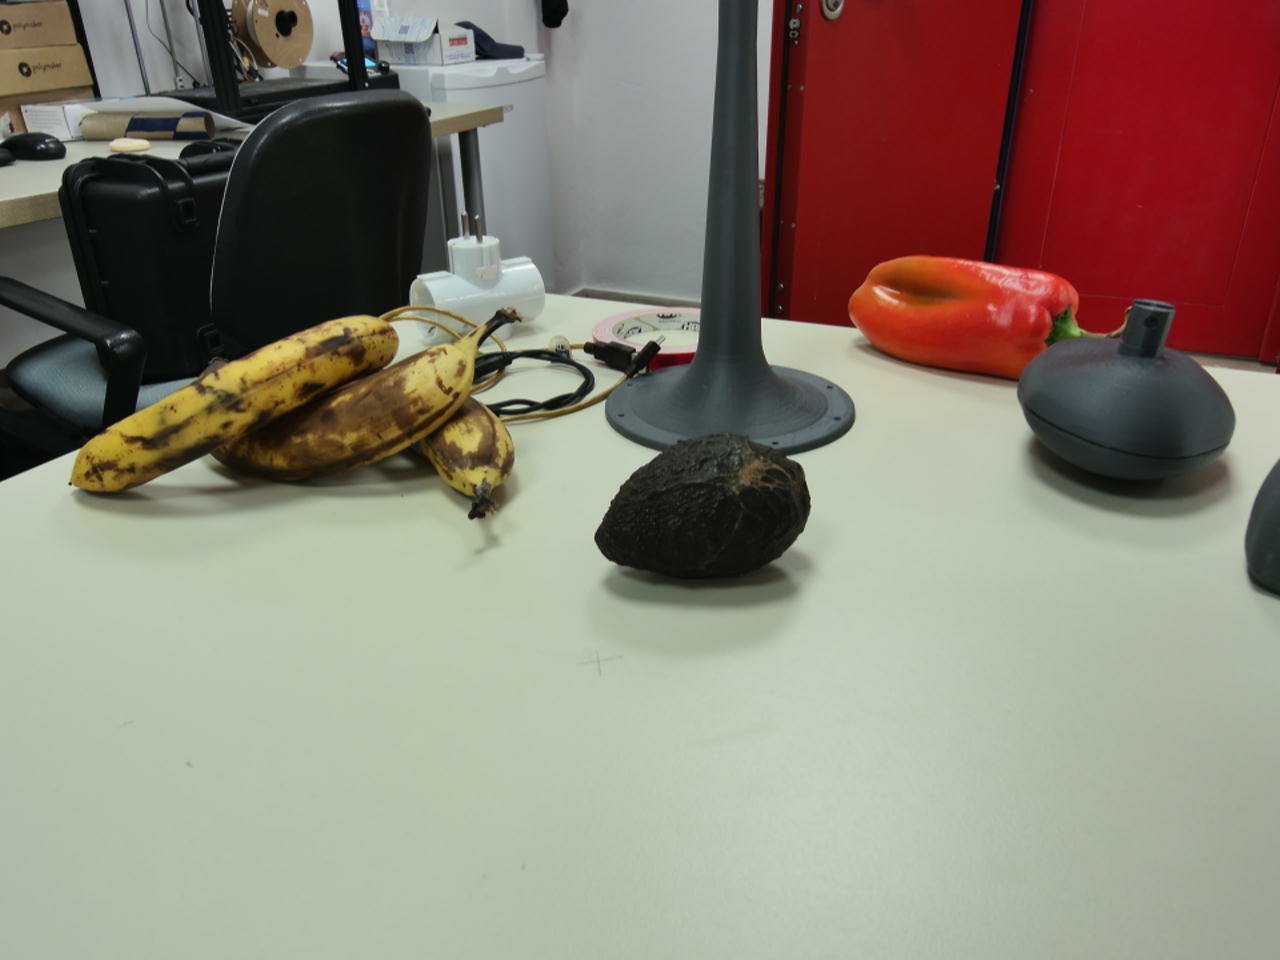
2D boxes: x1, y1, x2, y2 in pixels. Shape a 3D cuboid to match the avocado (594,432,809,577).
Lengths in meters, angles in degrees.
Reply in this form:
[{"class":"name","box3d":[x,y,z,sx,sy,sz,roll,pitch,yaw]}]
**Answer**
[{"class":"avocado","box3d":[0.027,0.011,0.434,0.092,0.062,0.062,1,24,2]}]
